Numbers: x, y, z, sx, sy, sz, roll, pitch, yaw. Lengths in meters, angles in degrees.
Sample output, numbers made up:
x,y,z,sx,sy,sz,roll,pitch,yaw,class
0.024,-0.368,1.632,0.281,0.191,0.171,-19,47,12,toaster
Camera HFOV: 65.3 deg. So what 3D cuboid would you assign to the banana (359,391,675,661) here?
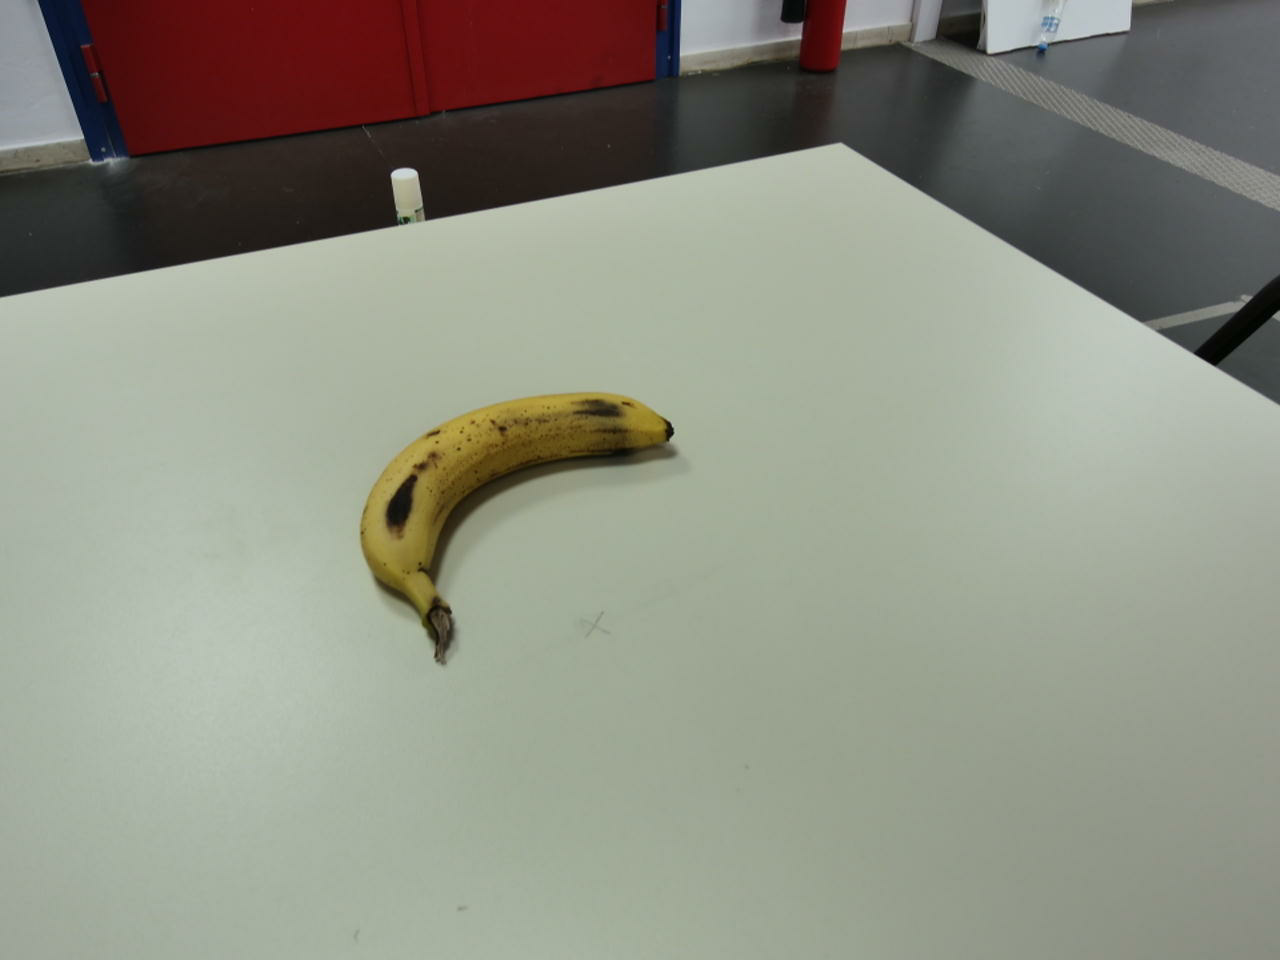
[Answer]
x,y,z,sx,sy,sz,roll,pitch,yaw,class
-0.071,-0.001,0.519,0.097,0.038,0.186,25,44,28,banana
